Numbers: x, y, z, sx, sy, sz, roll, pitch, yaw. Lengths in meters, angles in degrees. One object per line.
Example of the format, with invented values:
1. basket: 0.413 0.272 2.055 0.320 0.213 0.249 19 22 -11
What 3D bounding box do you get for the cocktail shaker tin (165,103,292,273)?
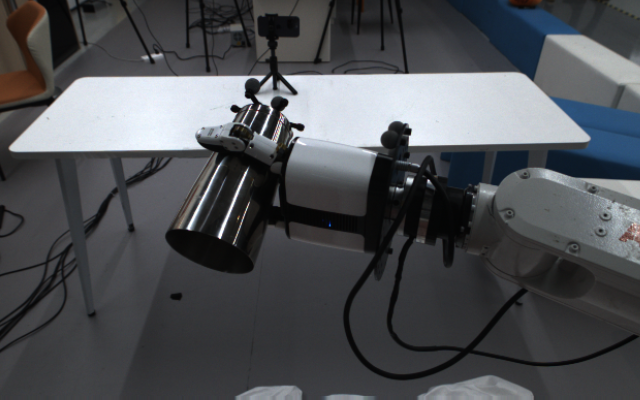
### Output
1. cocktail shaker tin: -0.085 -0.017 0.514 0.093 0.093 0.170 11 60 12
